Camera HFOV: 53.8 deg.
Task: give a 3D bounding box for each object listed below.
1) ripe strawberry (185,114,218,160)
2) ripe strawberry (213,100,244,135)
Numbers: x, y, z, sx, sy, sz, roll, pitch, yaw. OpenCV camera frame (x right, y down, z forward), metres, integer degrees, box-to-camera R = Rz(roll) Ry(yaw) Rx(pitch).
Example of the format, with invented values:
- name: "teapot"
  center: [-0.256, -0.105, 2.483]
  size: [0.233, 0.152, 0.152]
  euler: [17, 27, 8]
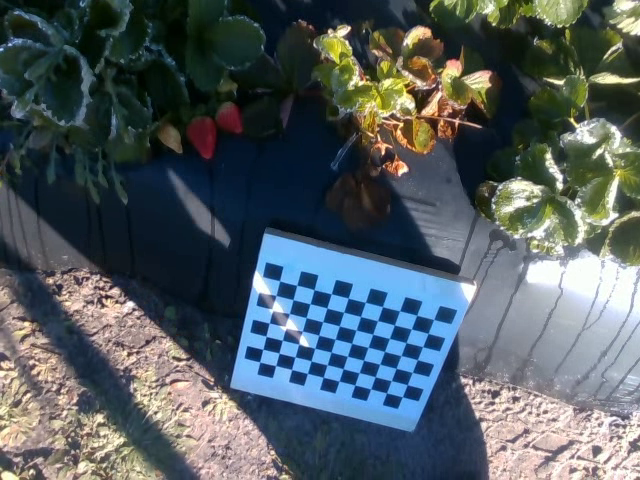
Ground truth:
- name: "ripe strawberry"
  center: [-0.131, -0.112, 0.713]
  size: [0.037, 0.051, 0.040]
  euler: [-21, -13, 14]
- name: "ripe strawberry"
  center: [-0.101, -0.138, 0.716]
  size: [0.041, 0.036, 0.030]
  euler: [41, 24, -10]
